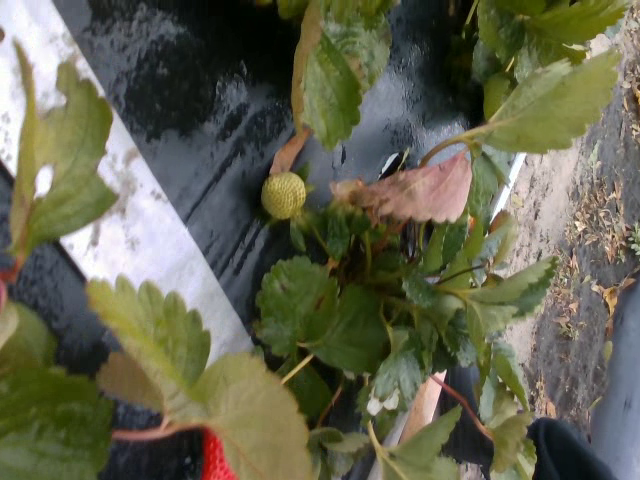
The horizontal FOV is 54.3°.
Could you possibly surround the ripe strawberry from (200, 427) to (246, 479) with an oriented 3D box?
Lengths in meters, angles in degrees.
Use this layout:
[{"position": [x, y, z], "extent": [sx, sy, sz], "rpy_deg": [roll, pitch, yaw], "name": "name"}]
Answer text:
[{"position": [-0.037, 0.086, 0.267], "extent": [0.037, 0.042, 0.051], "rpy_deg": [24, 39, 8], "name": "ripe strawberry"}]
